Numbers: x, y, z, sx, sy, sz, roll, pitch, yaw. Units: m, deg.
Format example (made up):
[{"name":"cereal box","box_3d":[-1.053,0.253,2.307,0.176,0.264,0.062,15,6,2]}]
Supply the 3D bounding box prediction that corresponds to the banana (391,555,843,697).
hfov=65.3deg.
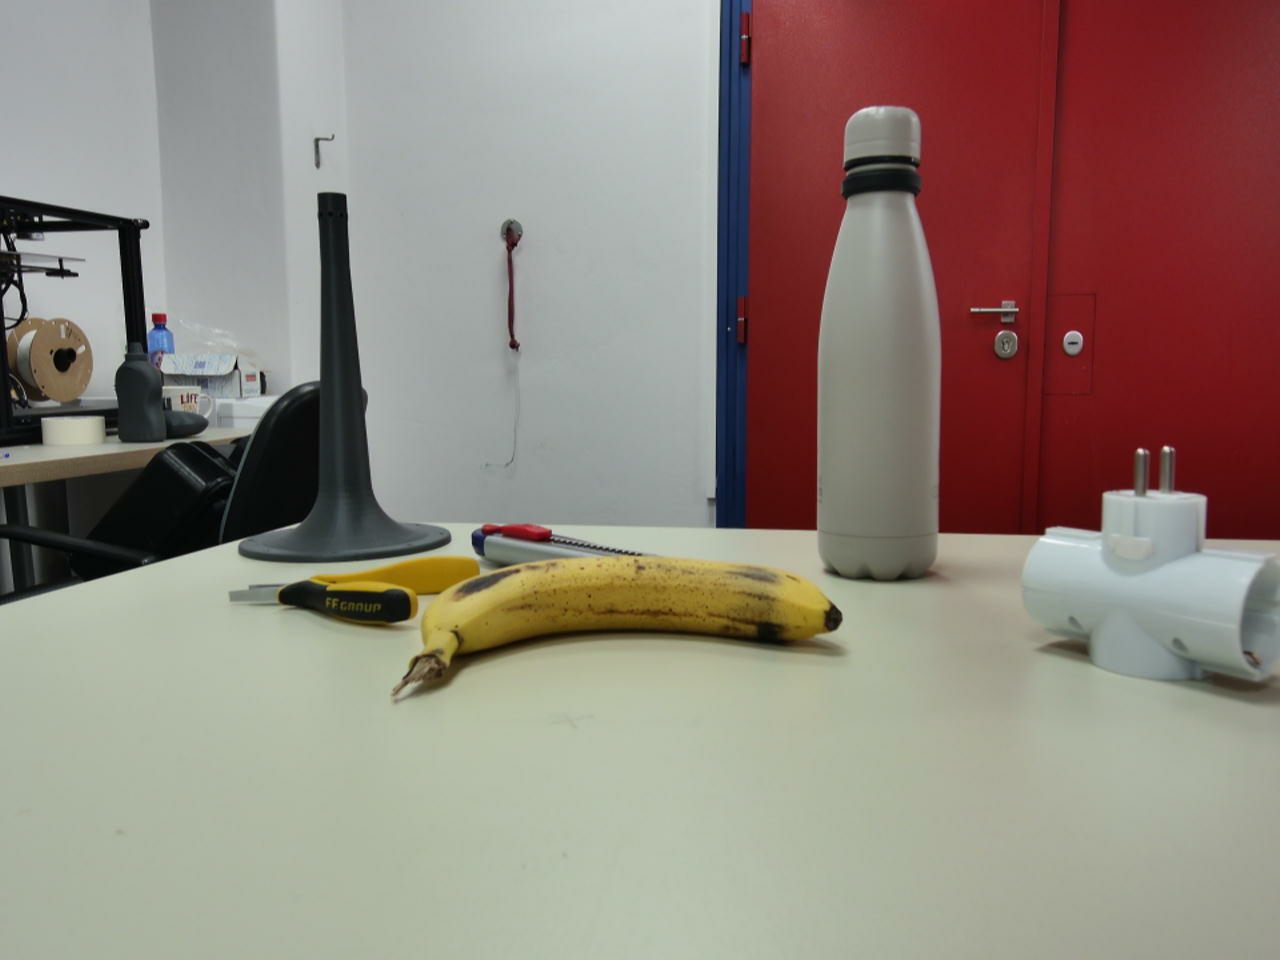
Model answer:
[{"name":"banana","box_3d":[-0.012,0.058,0.452,0.186,0.038,0.097,-1,4,-15]}]
